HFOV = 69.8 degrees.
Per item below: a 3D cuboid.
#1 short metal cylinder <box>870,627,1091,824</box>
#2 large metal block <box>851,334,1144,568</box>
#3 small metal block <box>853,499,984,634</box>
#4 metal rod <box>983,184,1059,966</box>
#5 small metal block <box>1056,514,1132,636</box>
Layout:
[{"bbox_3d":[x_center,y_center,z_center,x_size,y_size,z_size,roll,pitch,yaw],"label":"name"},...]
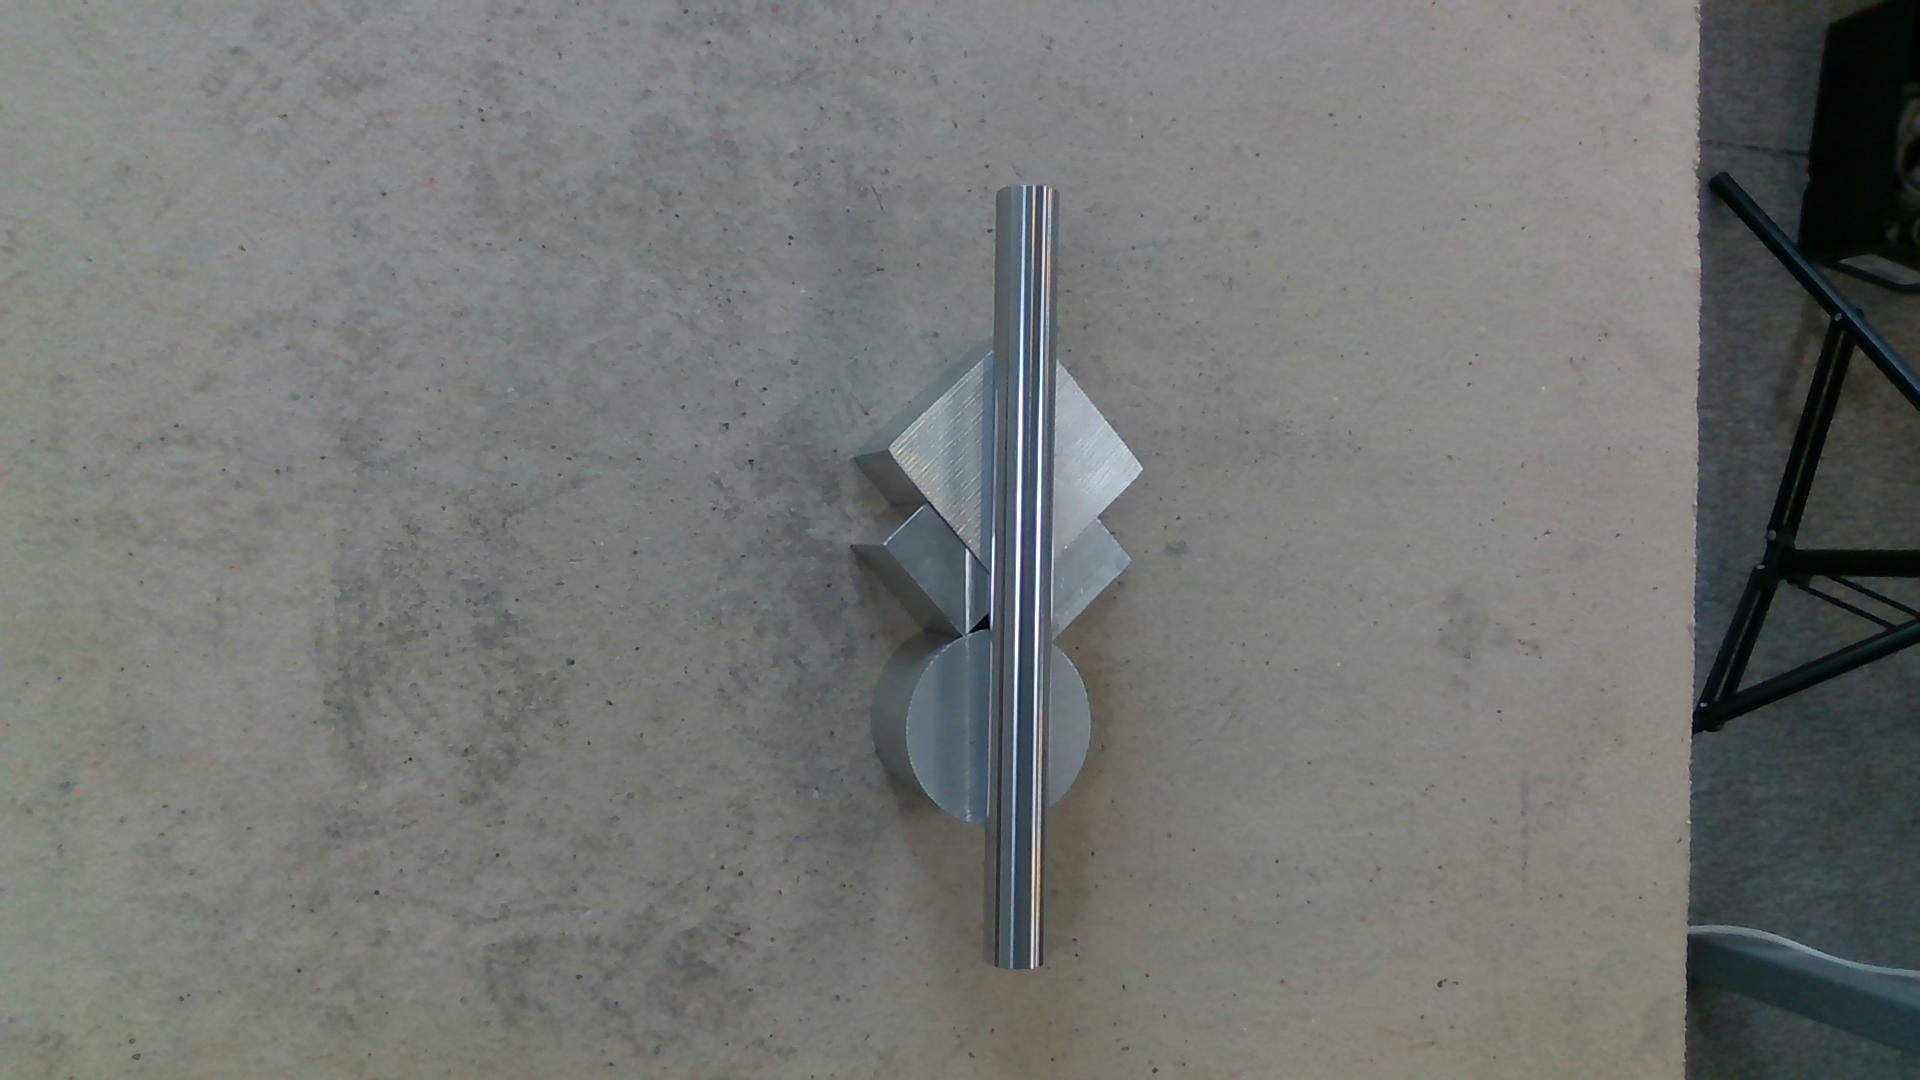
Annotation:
[{"bbox_3d":[0.008,0.074,0.576,0.080,0.050,0.080,0,90,-20],"label":"short metal cylinder"},{"bbox_3d":[0.015,-0.033,0.577,0.080,0.050,0.080,-44,104,-15],"label":"large metal block"},{"bbox_3d":[-0.014,0.011,0.569,0.025,0.050,0.050,-44,104,-15],"label":"small metal block"},{"bbox_3d":[0.024,0.013,0.540,0.025,0.025,0.300,1,90,-20],"label":"metal rod"},{"bbox_3d":[0.038,0.015,0.588,0.050,0.050,0.025,-44,104,-14],"label":"small metal block"}]
